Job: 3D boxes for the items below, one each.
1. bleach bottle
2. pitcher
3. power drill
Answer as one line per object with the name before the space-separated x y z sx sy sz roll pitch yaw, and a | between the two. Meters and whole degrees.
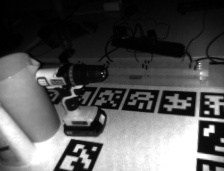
bleach bottle | -0.307 0.077 0.534 0.102 0.253 0.068 -4 42 18
pitcher | -0.259 0.024 0.610 0.188 0.245 0.132 -16 41 3
power drill | -0.097 0.025 0.566 0.183 0.188 0.057 2 47 14
